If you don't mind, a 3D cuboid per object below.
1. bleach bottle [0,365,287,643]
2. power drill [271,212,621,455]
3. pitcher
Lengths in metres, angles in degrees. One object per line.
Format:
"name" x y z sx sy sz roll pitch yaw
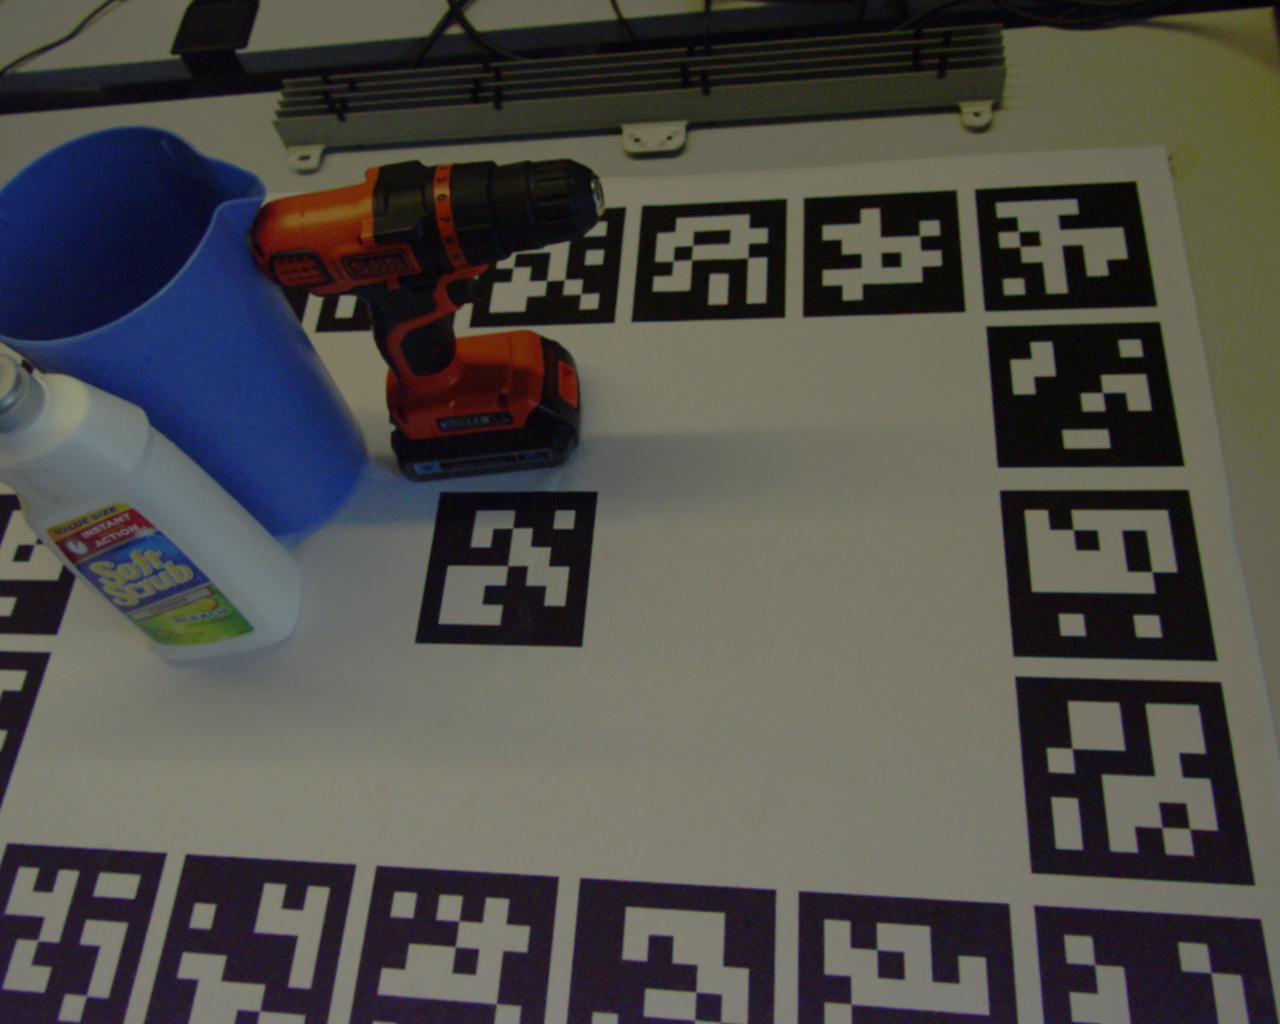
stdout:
"bleach bottle" -0.286 -0.003 0.610 0.103 0.249 0.068 -7 63 7
"power drill" -0.096 -0.099 0.654 0.185 0.186 0.057 -3 67 3
"pitcher" -0.265 -0.086 0.669 0.189 0.241 0.134 -24 64 -2
